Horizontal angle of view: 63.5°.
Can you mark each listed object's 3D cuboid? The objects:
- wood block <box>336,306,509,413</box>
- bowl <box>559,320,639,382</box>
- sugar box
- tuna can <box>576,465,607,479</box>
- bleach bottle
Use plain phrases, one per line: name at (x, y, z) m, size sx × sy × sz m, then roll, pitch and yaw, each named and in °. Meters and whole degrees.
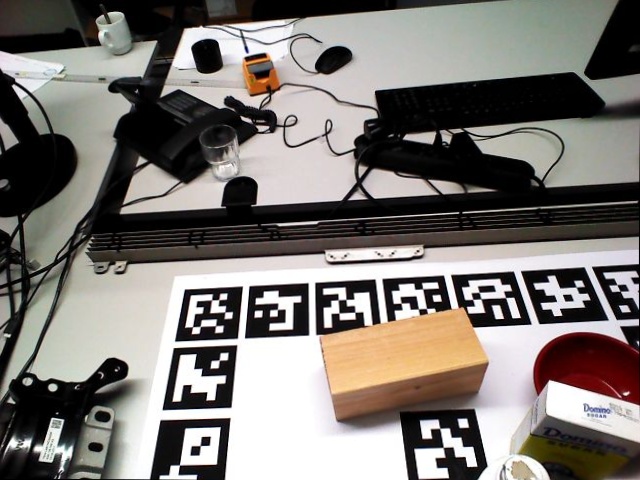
wood block at (0.131, 0.159, 0.703) m, size 0.206 × 0.090 × 0.090 m, roll -10°, pitch 52°, yaw -3°
bowl at (0.391, 0.184, 0.664) m, size 0.162 × 0.055 × 0.160 m, roll -7°, pitch 47°, yaw 7°
sugar box at (0.307, 0.208, 0.568) m, size 0.093 × 0.177 × 0.045 m, roll 10°, pitch 52°, yaw 21°
tuna can at (0.291, 0.302, 0.581) m, size 0.086 × 0.034 × 0.085 m, roll -4°, pitch 51°, yaw 5°
bleach bottle at (0.182, 0.257, 0.495) m, size 0.102 × 0.251 × 0.068 m, roll -24°, pitch 48°, yaw -13°
